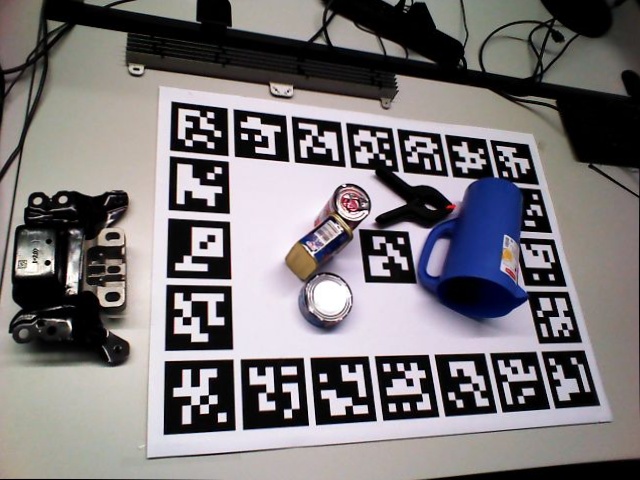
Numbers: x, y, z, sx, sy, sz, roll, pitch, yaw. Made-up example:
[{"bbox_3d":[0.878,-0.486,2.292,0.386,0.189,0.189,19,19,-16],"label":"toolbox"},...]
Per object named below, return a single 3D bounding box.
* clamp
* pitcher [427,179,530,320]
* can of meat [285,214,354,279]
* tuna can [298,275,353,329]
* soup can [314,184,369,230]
[{"bbox_3d":[0.165,-0.078,0.989,0.165,0.037,0.121,6,63,-21],"label":"clamp"},{"bbox_3d":[0.299,0.008,0.931,0.189,0.134,0.241,12,56,10],"label":"pitcher"},{"bbox_3d":[-0.004,0.013,0.840,0.083,0.102,0.058,-36,85,-24],"label":"can of meat"},{"bbox_3d":[0.008,0.103,0.850,0.085,0.034,0.085,6,69,-17],"label":"tuna can"},{"bbox_3d":[0.034,-0.046,0.883,0.068,0.102,0.067,6,69,-15],"label":"soup can"}]
